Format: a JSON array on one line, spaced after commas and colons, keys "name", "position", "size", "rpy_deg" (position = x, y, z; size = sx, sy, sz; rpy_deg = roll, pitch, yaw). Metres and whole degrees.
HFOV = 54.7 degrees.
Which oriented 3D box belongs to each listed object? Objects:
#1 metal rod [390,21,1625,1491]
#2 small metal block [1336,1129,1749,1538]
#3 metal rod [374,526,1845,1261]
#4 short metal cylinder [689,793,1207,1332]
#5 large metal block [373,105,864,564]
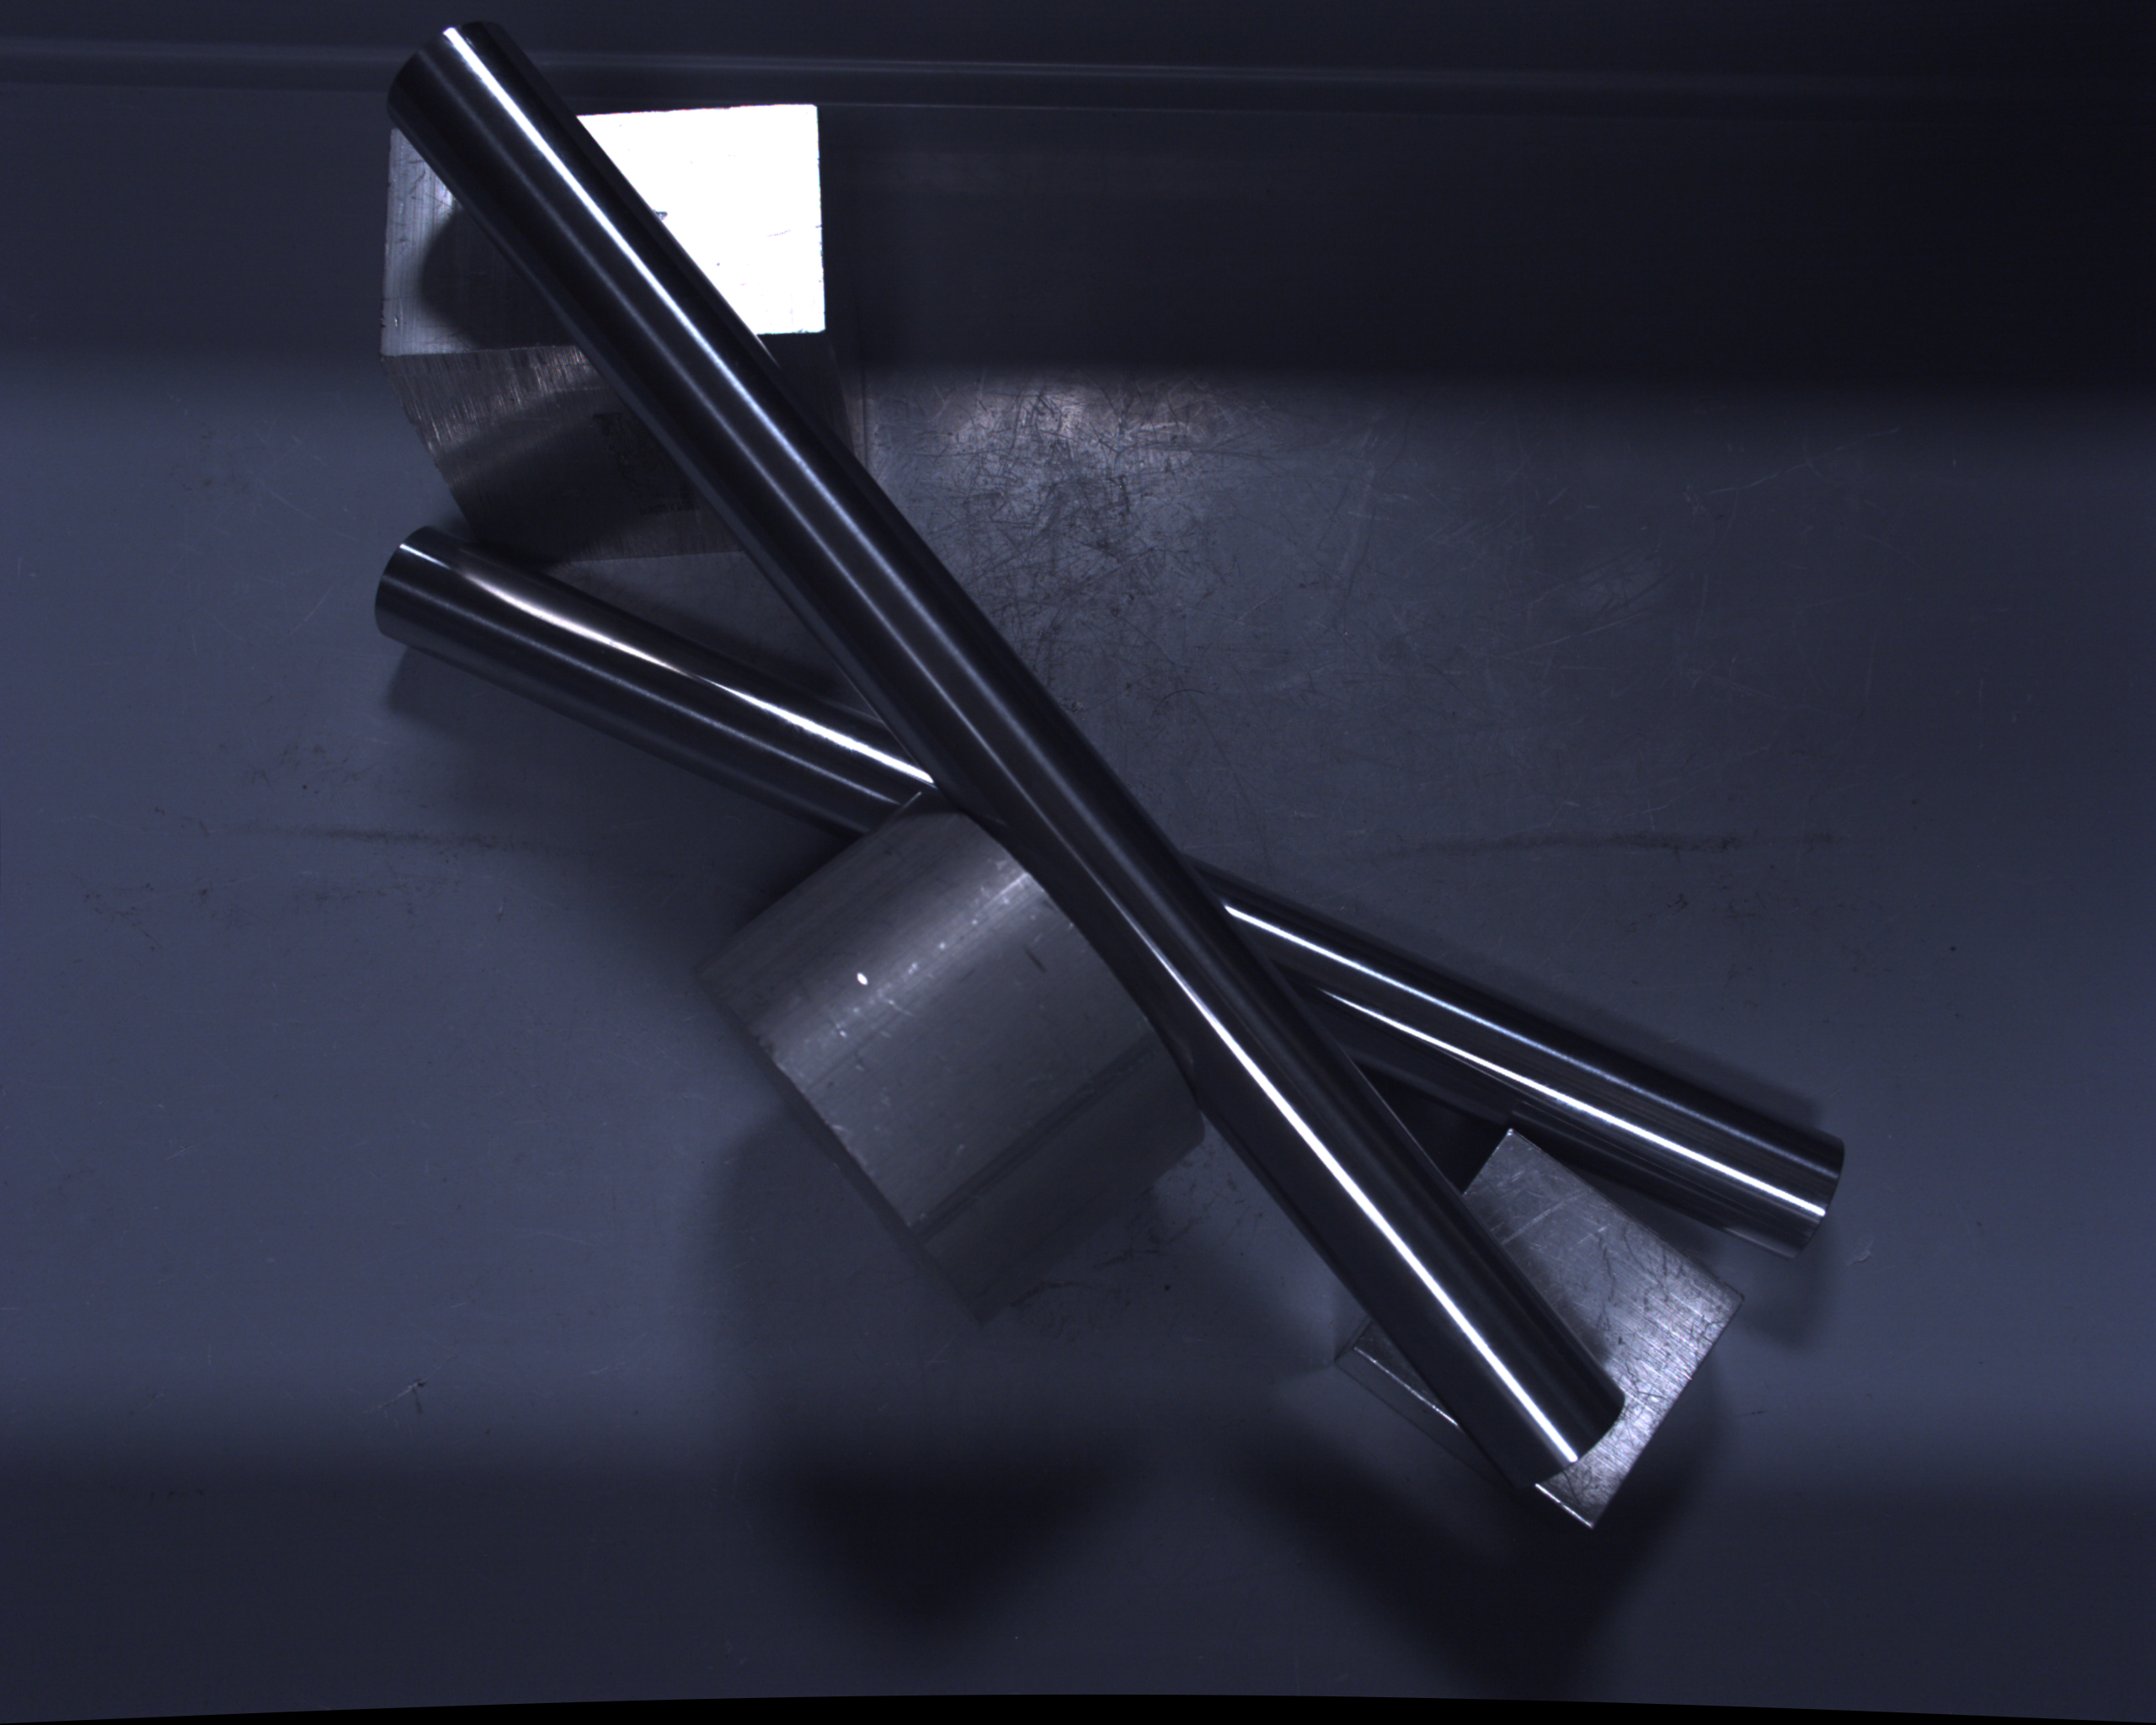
[{"name": "metal rod", "position": [-0.014, -0.020, 0.354], "size": [0.025, 0.025, 0.300], "rpy_deg": [-39, 87, -13]}, {"name": "small metal block", "position": [0.083, 0.085, 0.378], "size": [0.050, 0.025, 0.050], "rpy_deg": [36, 74, 12]}, {"name": "metal rod", "position": [0.000, 0.003, 0.407], "size": [0.301, 0.025, 0.025], "rpy_deg": [24, 72, 8]}, {"name": "short metal cylinder", "position": [-0.023, 0.034, 0.365], "size": [0.050, 0.080, 0.080], "rpy_deg": [-38, 75, -13]}, {"name": "large metal block", "position": [-0.086, -0.102, 0.416], "size": [0.081, 0.080, 0.050], "rpy_deg": [-3, 70, -2]}]
